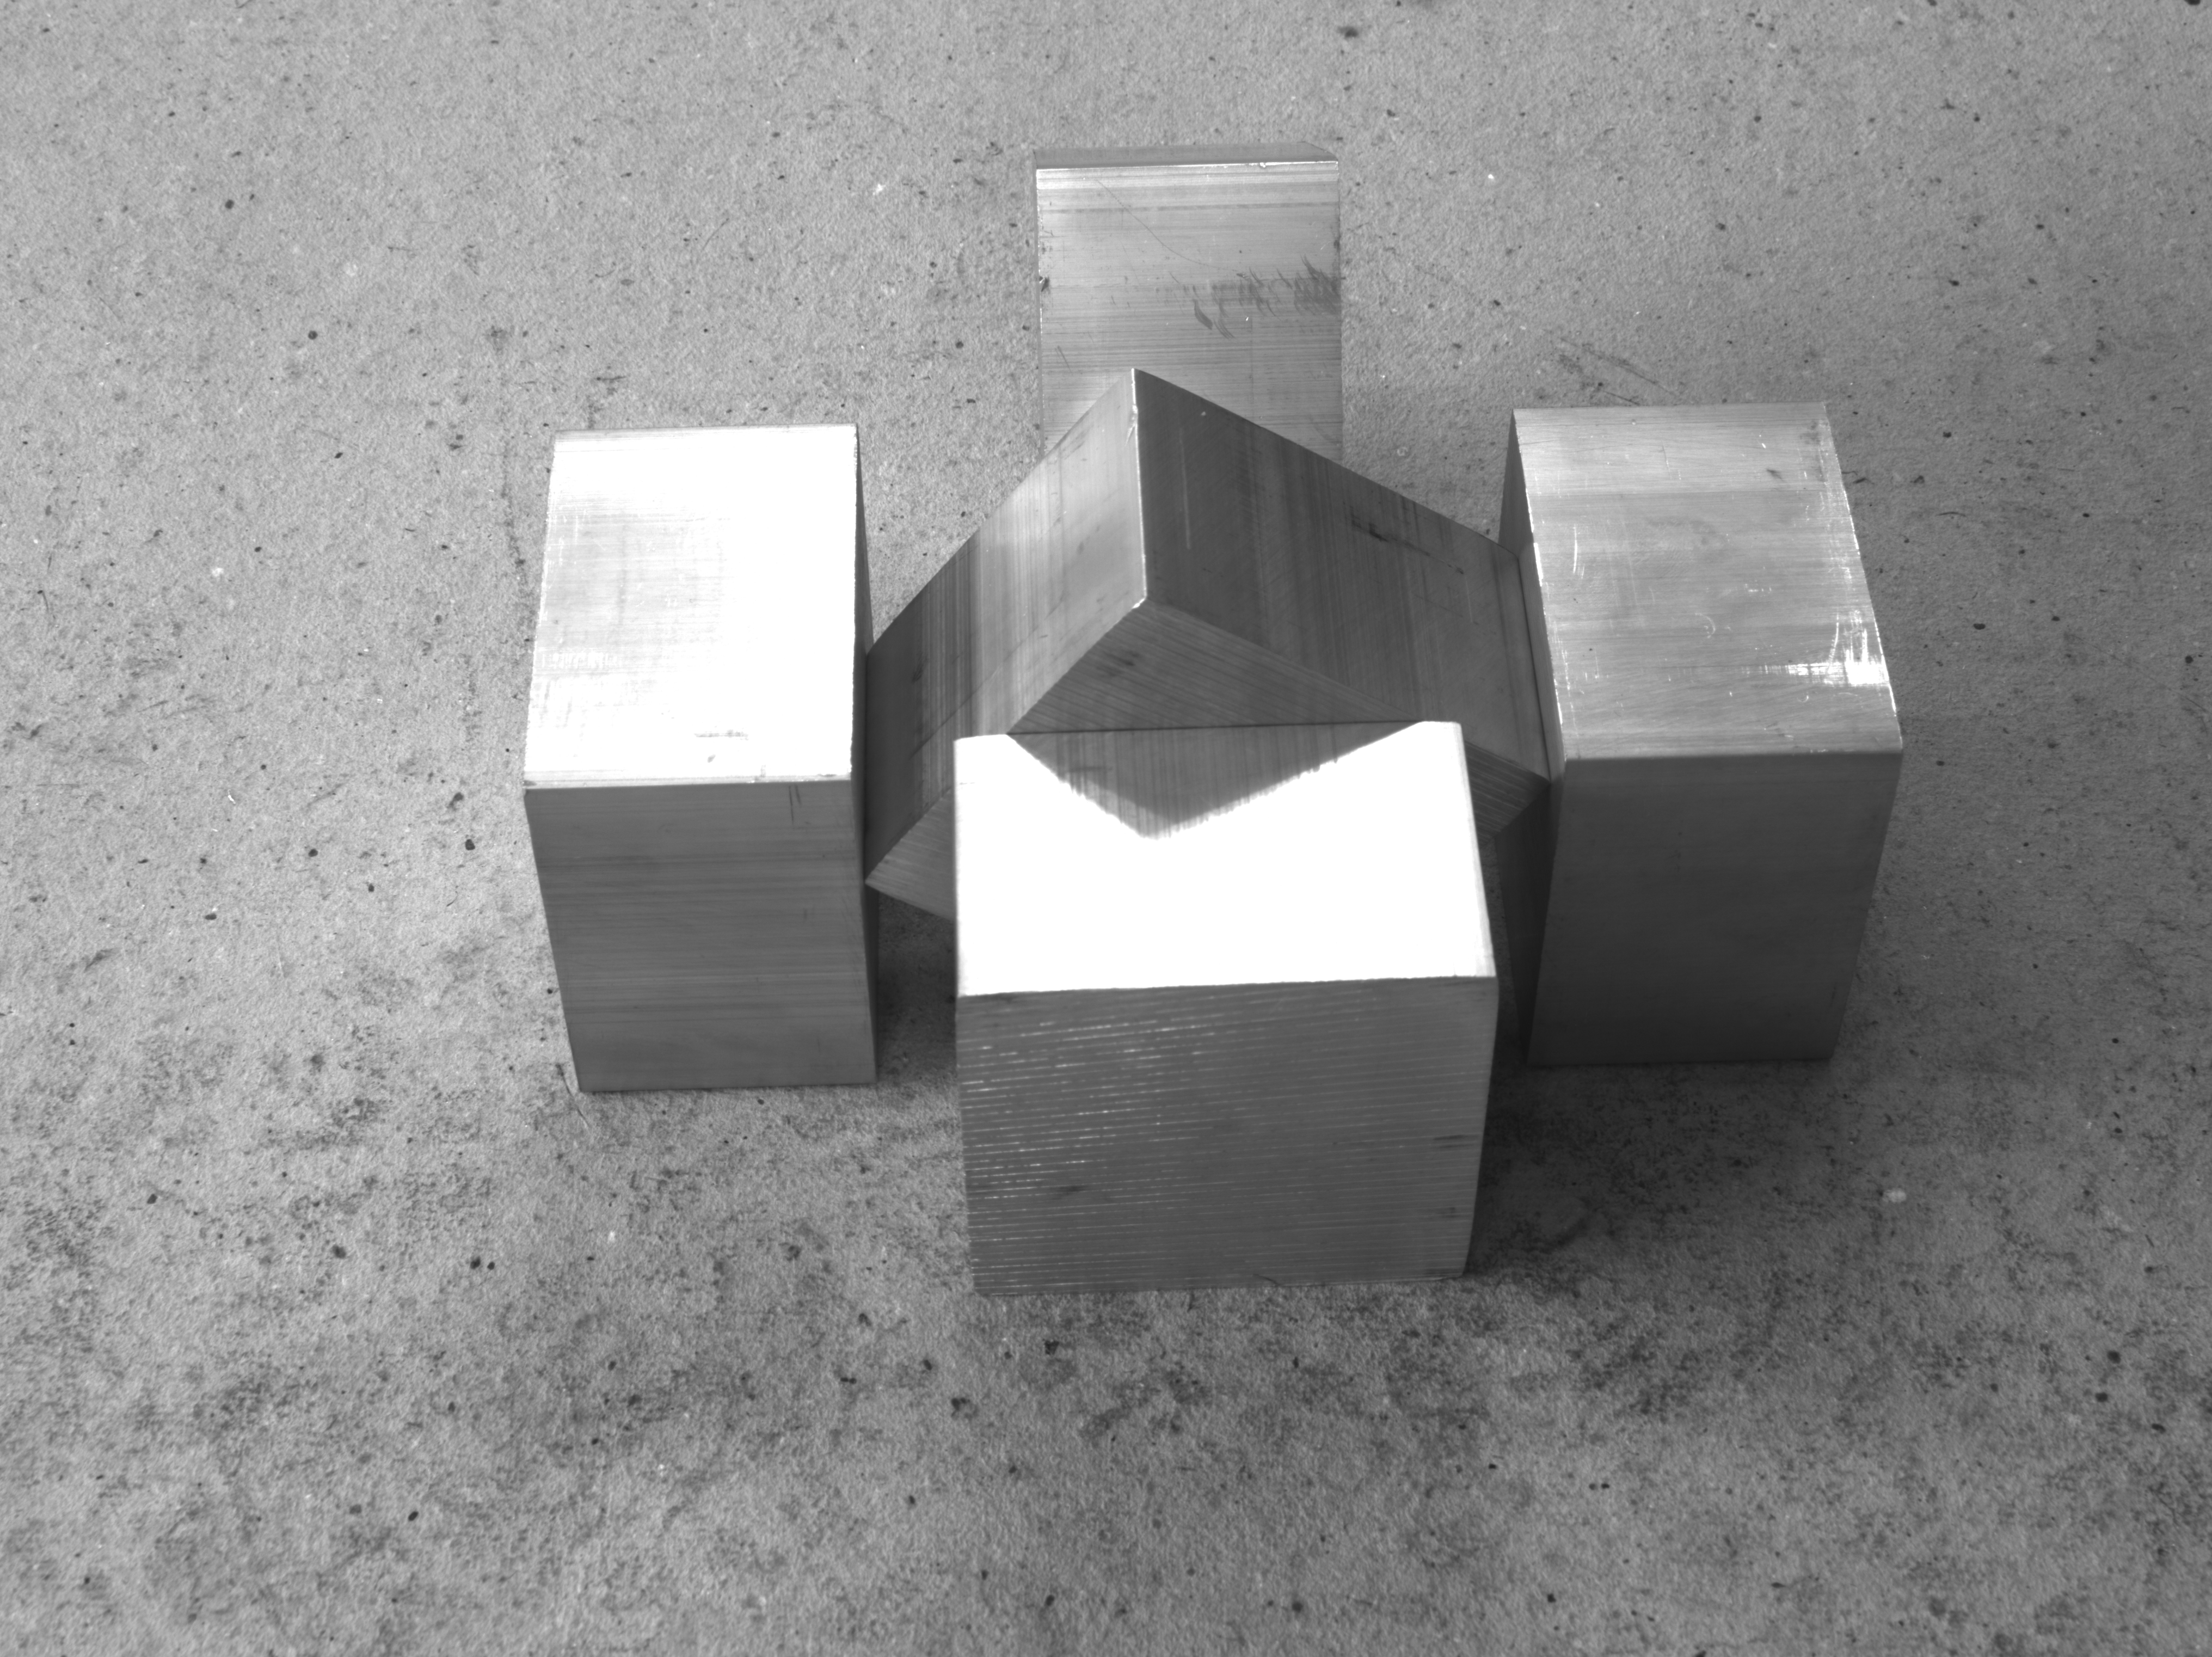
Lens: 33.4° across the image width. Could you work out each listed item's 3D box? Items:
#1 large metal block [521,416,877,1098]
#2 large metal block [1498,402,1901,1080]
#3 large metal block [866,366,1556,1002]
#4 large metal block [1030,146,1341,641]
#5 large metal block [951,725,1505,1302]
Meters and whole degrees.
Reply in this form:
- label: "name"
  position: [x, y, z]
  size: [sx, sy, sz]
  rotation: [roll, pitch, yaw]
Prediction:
- label: "large metal block"
  position: [-0.065, -0.012, 0.616]
  size: [0.050, 0.080, 0.080]
  rotation: [-1, 50, -1]
- label: "large metal block"
  position: [0.095, -0.014, 0.619]
  size: [0.050, 0.080, 0.080]
  rotation: [-1, 49, -2]
- label: "large metal block"
  position: [0.015, -0.017, 0.603]
  size: [0.080, 0.080, 0.050]
  rotation: [23, 43, -27]
- label: "large metal block"
  position: [0.013, -0.079, 0.655]
  size: [0.050, 0.080, 0.080]
  rotation: [-2, 12, -1]
- label: "large metal block"
  position: [0.017, 0.030, 0.582]
  size: [0.080, 0.080, 0.050]
  rotation: [-2, 50, -1]
